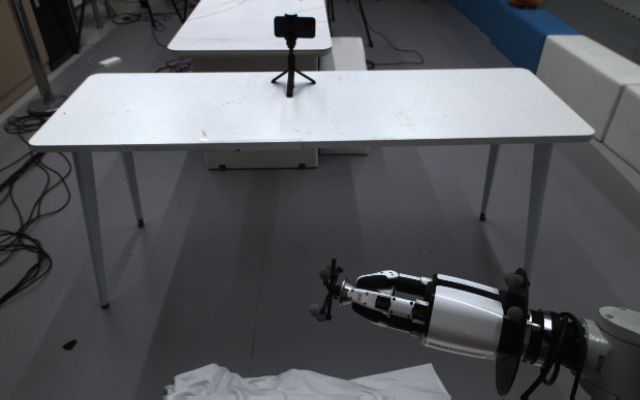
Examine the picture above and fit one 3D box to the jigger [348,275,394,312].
[{"bbox_3d":[0.071,0.127,0.653,0.071,0.043,0.043,8,35,16],"label":"jigger"}]
